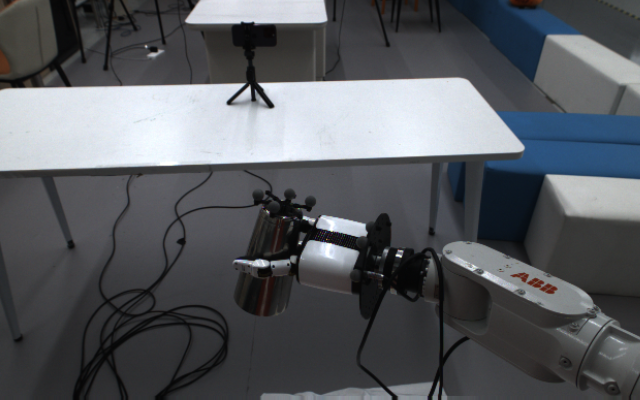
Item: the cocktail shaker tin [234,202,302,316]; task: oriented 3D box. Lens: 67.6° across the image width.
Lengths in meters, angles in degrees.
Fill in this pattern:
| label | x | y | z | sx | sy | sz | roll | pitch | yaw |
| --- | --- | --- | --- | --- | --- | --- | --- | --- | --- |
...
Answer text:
| label | x | y | z | sx | sy | sz | roll | pitch | yaw |
| --- | --- | --- | --- | --- | --- | --- | --- | --- | --- |
| cocktail shaker tin | -0.075 | 0.087 | 0.767 | 0.093 | 0.170 | 0.093 | 12 | 24 | -5 |
